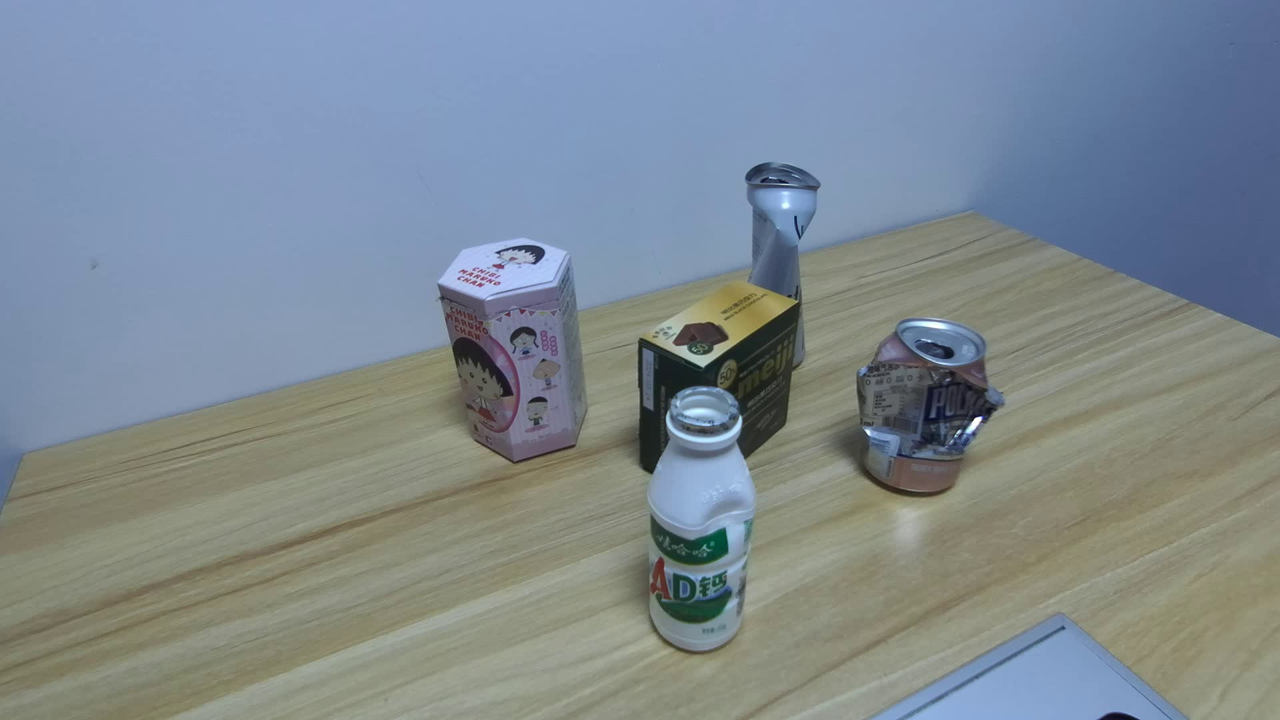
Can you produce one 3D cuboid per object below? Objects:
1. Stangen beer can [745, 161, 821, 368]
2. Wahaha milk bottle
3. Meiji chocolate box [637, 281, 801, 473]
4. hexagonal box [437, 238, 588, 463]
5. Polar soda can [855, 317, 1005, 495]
[{"bbox_3d":[0.106,-0.070,0.562,0.066,0.162,0.076,-27,42,-32],"label":"Stangen beer can"},{"bbox_3d":[0.031,0.086,0.355,0.053,0.137,0.053,-1,34,1],"label":"Wahaha milk bottle"},{"bbox_3d":[0.054,0.018,0.480,0.056,0.109,0.110,25,42,35],"label":"Meiji chocolate box"},{"bbox_3d":[-0.086,-0.006,0.503,0.091,0.136,0.084,21,39,32],"label":"hexagonal box"},{"bbox_3d":[0.186,0.030,0.460,0.074,0.114,0.070,-25,46,-25],"label":"Polar soda can"}]
